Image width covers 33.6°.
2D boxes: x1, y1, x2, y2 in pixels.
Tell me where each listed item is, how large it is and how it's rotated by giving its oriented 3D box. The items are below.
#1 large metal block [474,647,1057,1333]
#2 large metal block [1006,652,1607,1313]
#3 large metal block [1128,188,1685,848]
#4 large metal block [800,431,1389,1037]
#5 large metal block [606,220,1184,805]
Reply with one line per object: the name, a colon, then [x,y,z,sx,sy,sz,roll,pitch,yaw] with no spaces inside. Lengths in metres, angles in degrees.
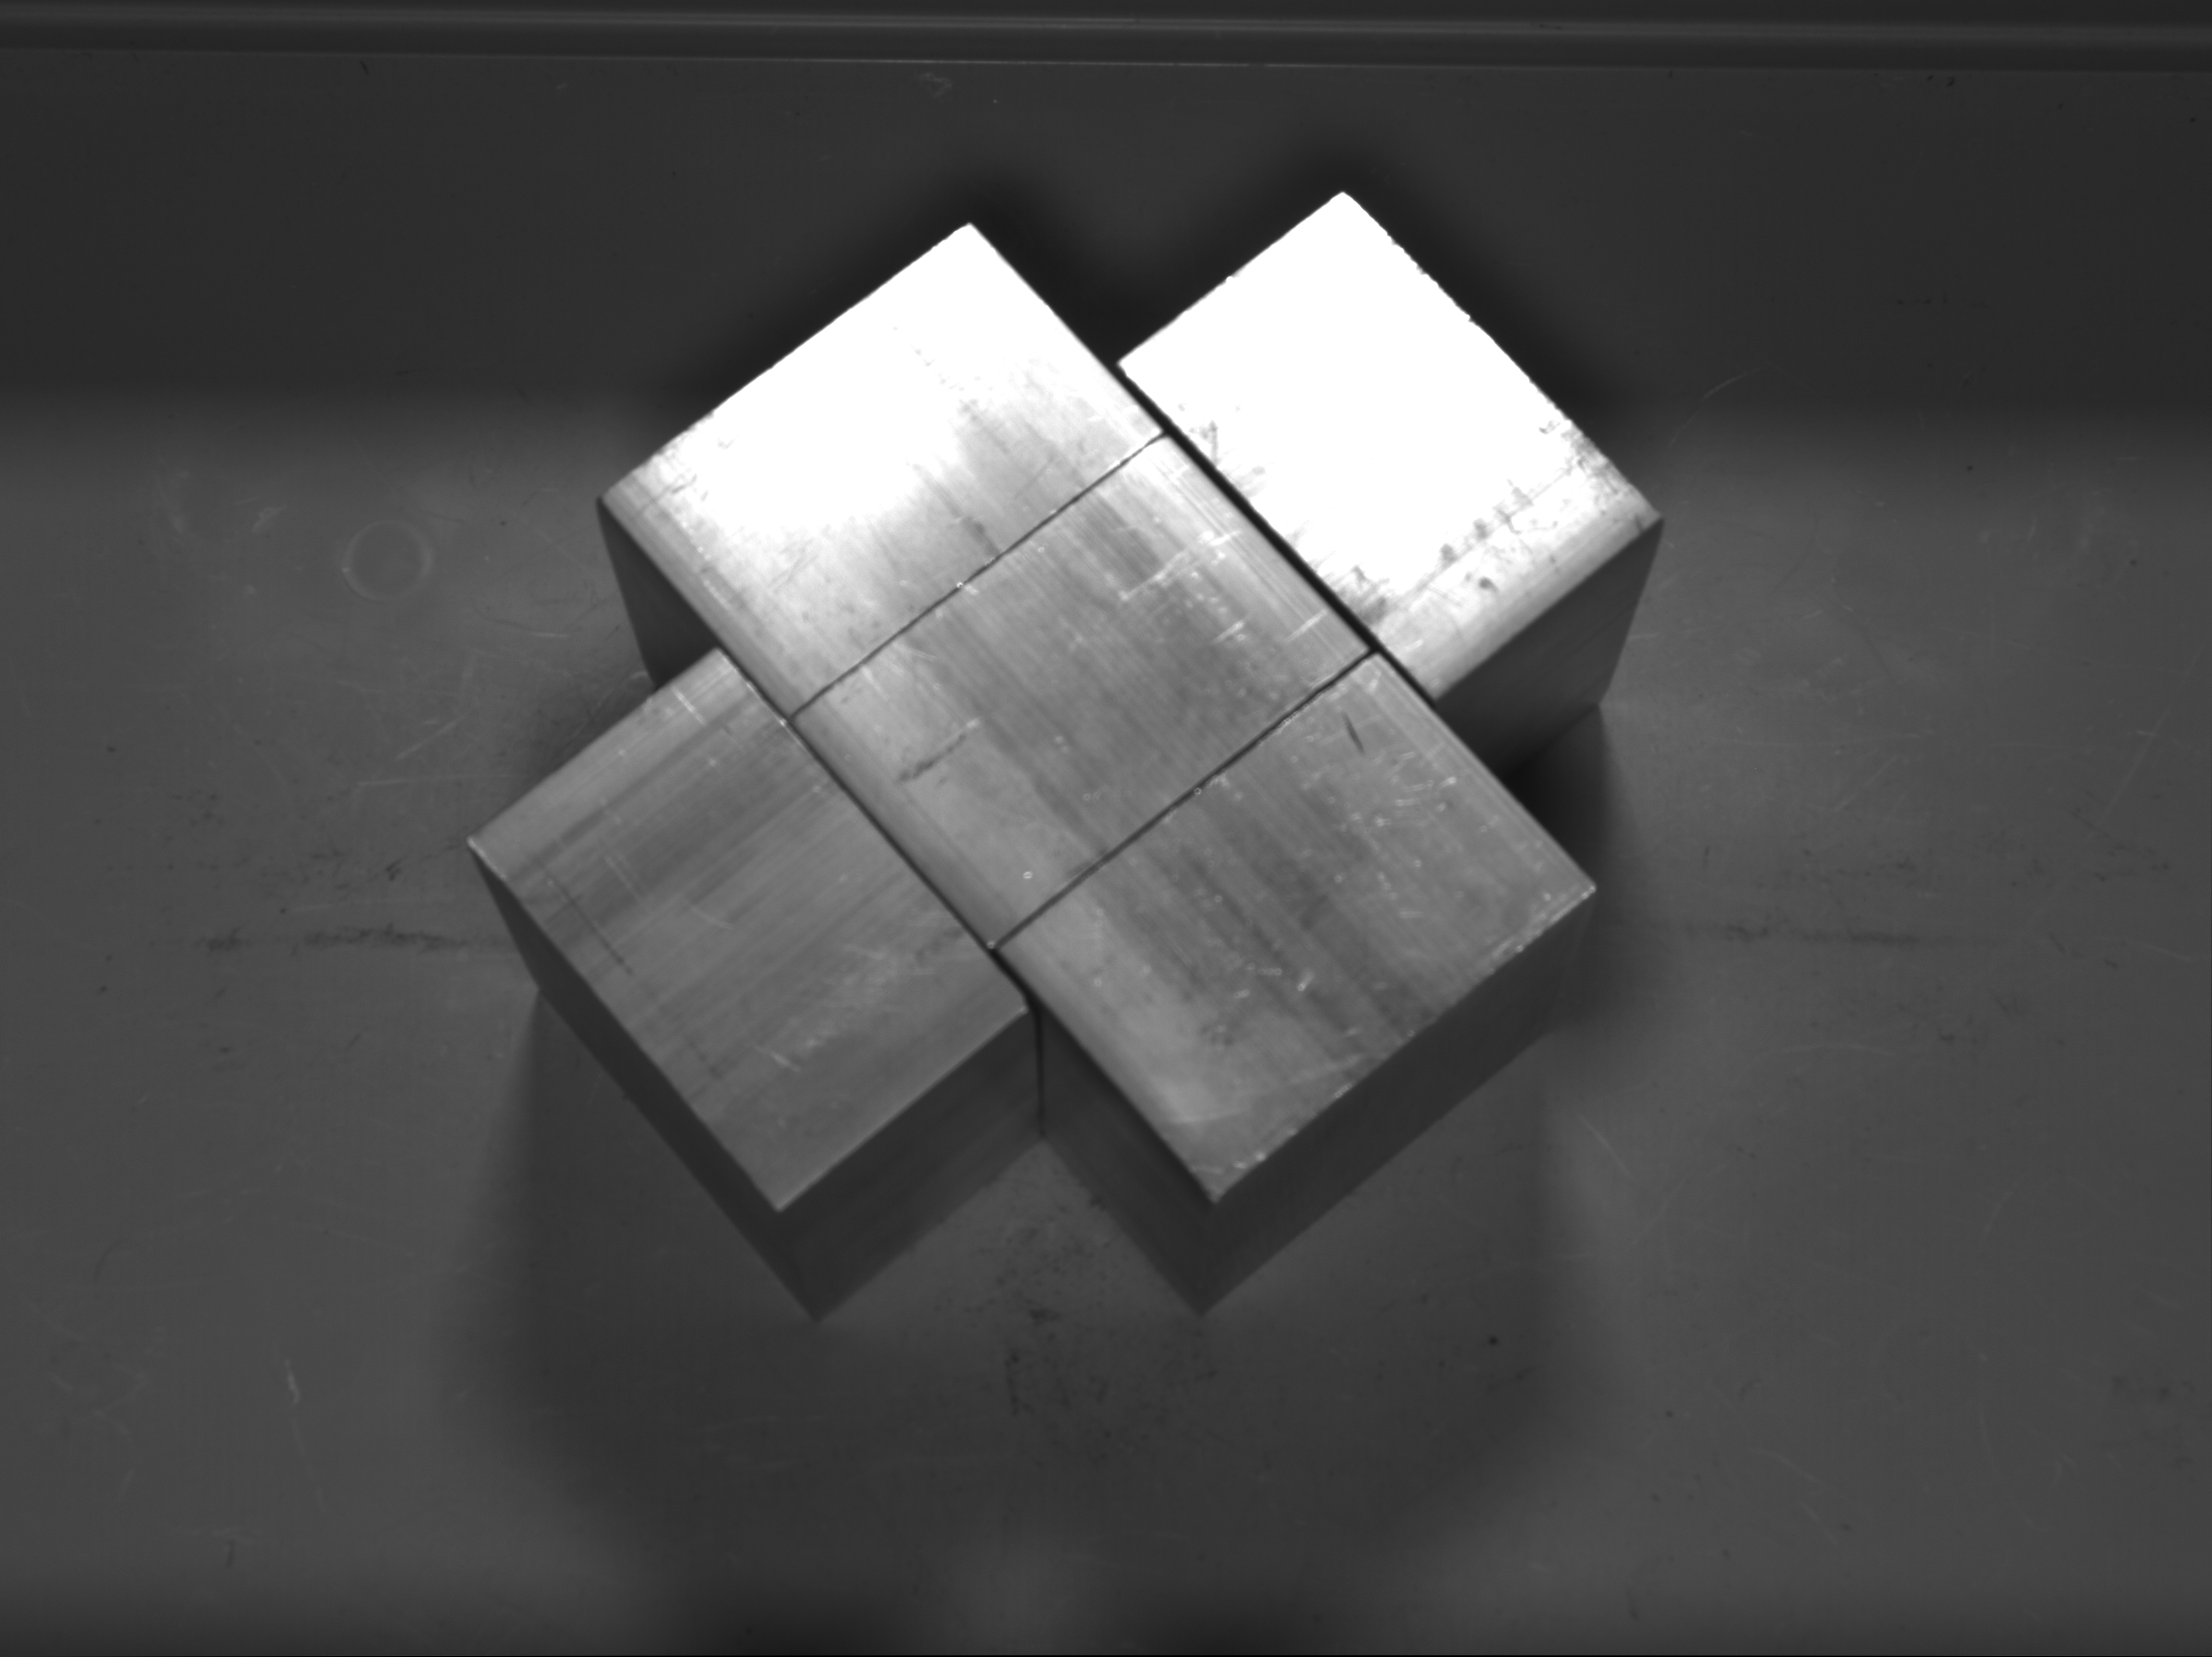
large metal block: [-0.054,0.029,0.605,0.050,0.080,0.080,-39,74,-13]
large metal block: [0.031,0.028,0.605,0.080,0.080,0.050,-38,74,-13]
large metal block: [0.049,-0.049,0.634,0.050,0.080,0.080,-39,74,-13]
large metal block: [-0.002,-0.009,0.618,0.080,0.080,0.050,-38,74,-13]
large metal block: [-0.034,-0.045,0.631,0.080,0.080,0.050,-38,74,-13]
